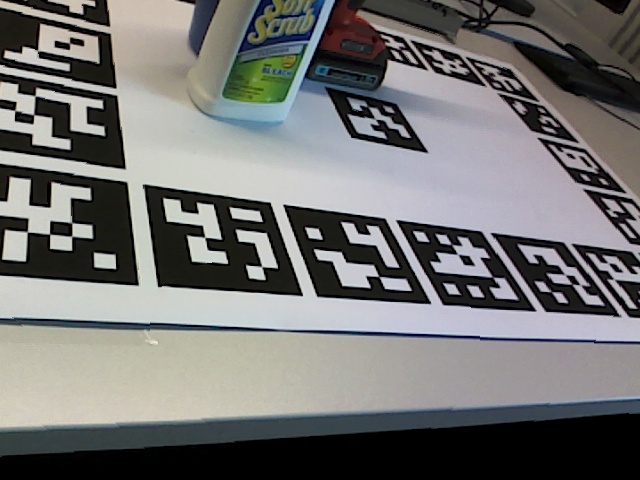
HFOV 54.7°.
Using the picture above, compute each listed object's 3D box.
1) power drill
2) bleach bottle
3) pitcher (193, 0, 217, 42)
[{"bbox_3d":[0.090,-0.283,0.693,0.183,0.187,0.057,7,46,-35],"label":"power drill"},{"bbox_3d":[-0.027,-0.236,0.516,0.102,0.251,0.068,0,47,-32],"label":"bleach bottle"},{"bbox_3d":[-0.050,-0.294,0.600,0.188,0.243,0.134,-19,60,-44],"label":"pitcher"}]
